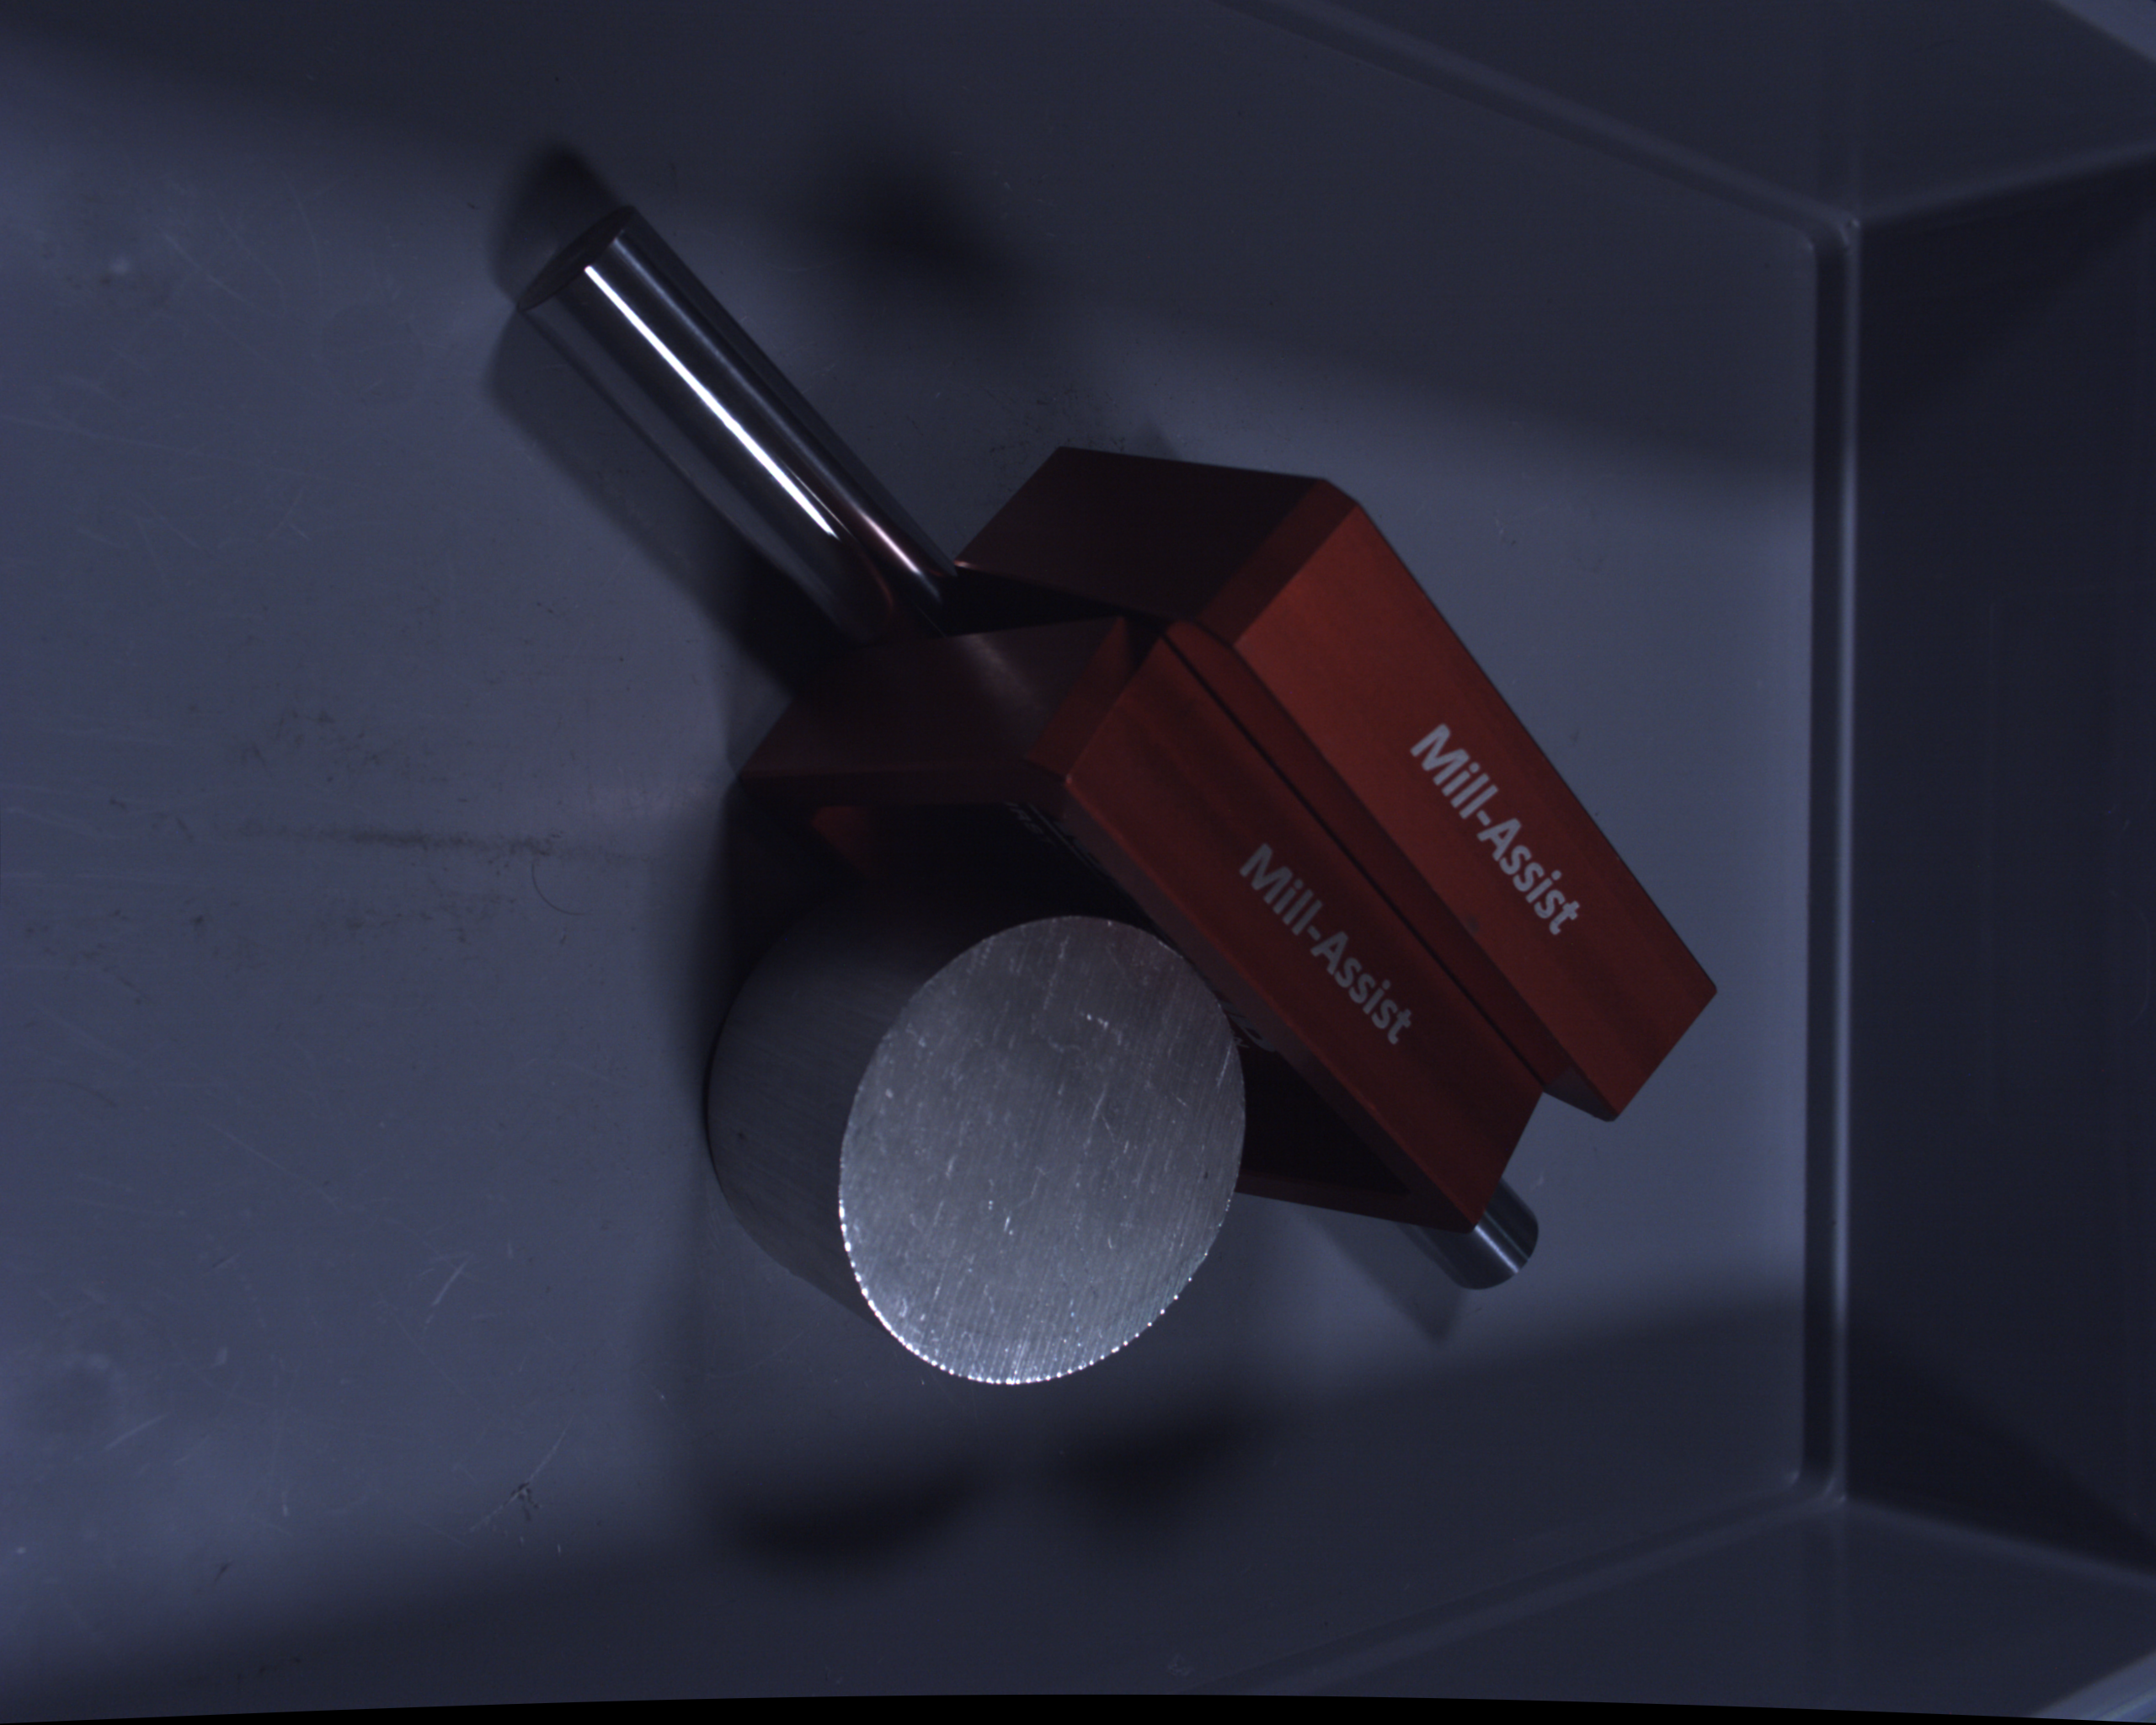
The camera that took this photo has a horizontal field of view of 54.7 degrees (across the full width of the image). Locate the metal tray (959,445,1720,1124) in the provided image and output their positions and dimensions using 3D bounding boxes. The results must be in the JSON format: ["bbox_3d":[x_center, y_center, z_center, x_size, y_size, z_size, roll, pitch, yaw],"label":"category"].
[{"bbox_3d":[0.046,-0.014,0.370,0.030,0.090,0.130,-49,121,-9],"label":"metal tray"}]

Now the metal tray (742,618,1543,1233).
[{"bbox_3d":[0.012,0.014,0.375,0.130,0.090,0.030,47,62,-30],"label":"metal tray"}]

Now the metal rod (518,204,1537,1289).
[{"bbox_3d":[0.007,-0.005,0.415,0.300,0.025,0.025,46,62,-30],"label":"metal rod"}]

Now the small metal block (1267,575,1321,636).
[{"bbox_3d":[0.025,-0.041,0.427,0.050,0.025,0.050,48,61,-30],"label":"small metal block"}]

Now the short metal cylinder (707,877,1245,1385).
[{"bbox_3d":[-0.018,0.045,0.368,0.081,0.050,0.079,-6,100,-34],"label":"short metal cylinder"}]
